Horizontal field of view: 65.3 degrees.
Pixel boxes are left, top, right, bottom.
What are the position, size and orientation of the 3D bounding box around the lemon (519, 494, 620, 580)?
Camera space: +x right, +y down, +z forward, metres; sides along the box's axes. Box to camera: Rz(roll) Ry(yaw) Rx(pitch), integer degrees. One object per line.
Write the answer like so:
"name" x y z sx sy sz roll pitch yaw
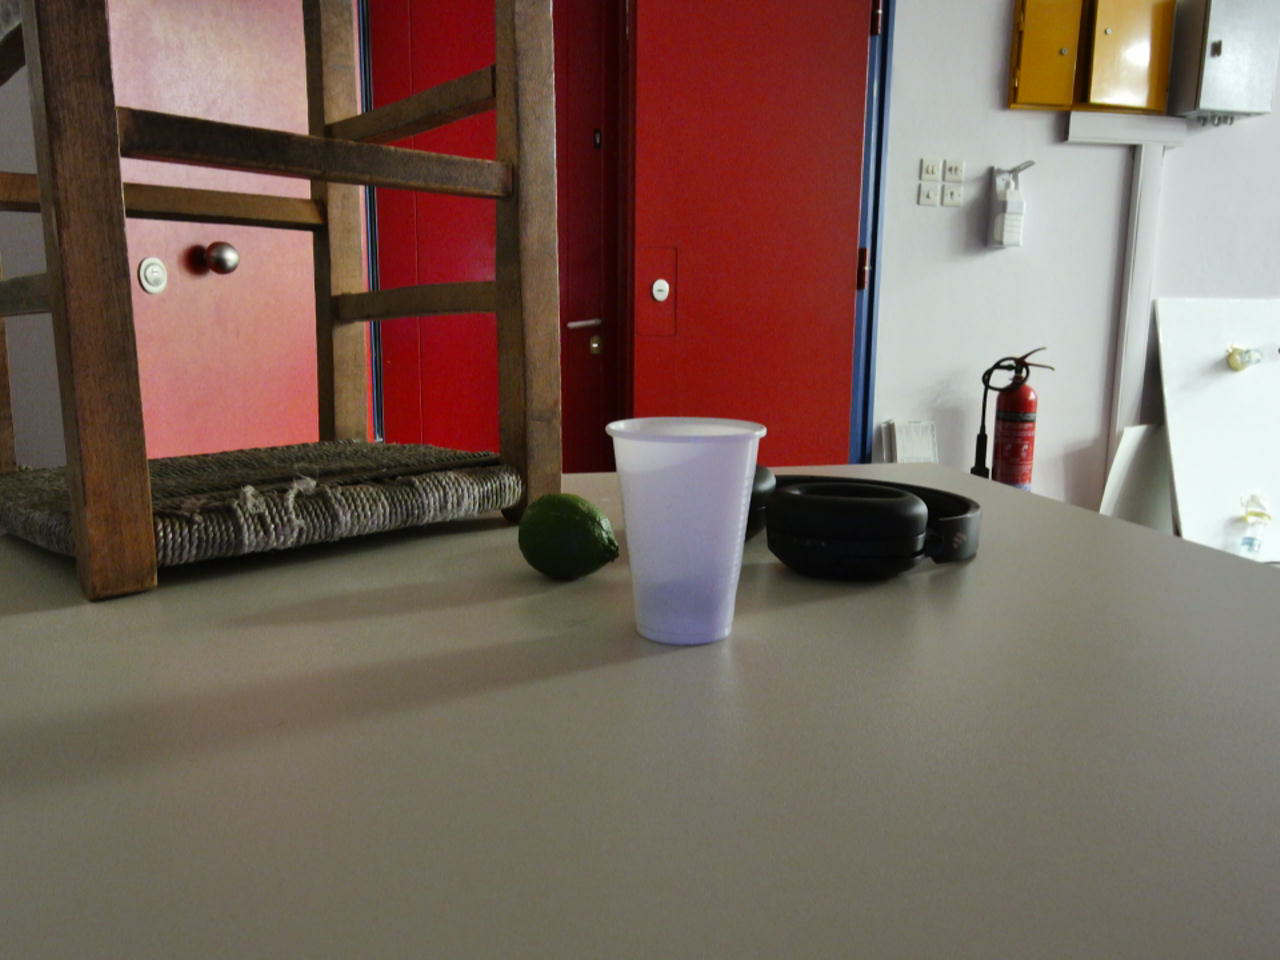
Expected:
"lemon" -0.045 0.033 0.602 0.057 0.051 0.054 -3 8 -16
